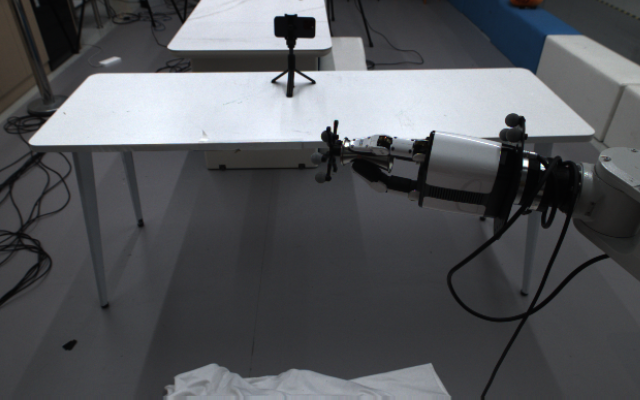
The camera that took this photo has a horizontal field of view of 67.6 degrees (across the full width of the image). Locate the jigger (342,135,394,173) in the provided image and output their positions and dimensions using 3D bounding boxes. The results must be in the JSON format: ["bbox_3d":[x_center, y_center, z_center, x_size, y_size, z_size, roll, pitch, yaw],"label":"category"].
[{"bbox_3d":[0.072,-0.068,0.664,0.071,0.043,0.043,8,35,16],"label":"jigger"}]
